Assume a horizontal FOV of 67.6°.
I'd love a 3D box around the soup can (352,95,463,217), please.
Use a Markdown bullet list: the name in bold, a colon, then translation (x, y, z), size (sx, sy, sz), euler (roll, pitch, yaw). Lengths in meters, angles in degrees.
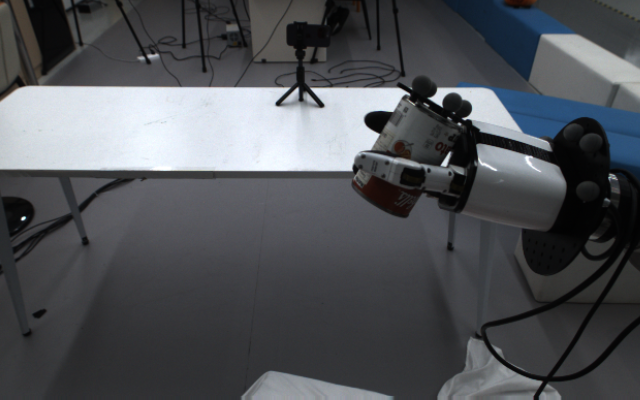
- **soup can**: translation (0.086, -0.042, 0.476), size (0.067, 0.101, 0.067), euler (27, 18, -9)
